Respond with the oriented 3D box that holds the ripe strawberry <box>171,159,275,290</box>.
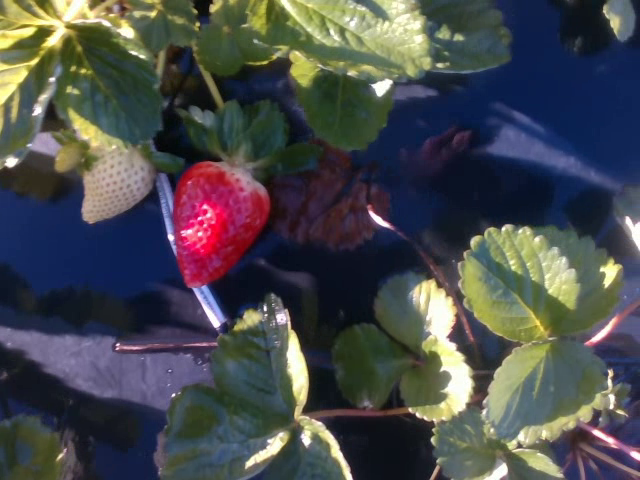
[{"bbox_3d":[-0.049,-0.009,0.311,0.062,0.080,0.040,24,-11,-31],"label":"ripe strawberry"}]
